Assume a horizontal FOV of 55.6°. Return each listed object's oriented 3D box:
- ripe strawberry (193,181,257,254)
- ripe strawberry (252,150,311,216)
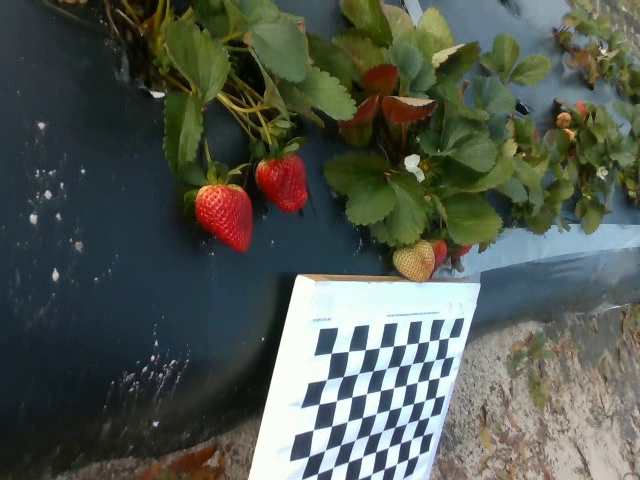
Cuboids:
[{"bbox_3d":[-0.065,-0.015,0.439,0.050,0.061,0.045,-9,-17,-42],"label":"ripe strawberry"},{"bbox_3d":[-0.025,-0.046,0.482,0.042,0.053,0.034,-15,-9,-40],"label":"ripe strawberry"}]
